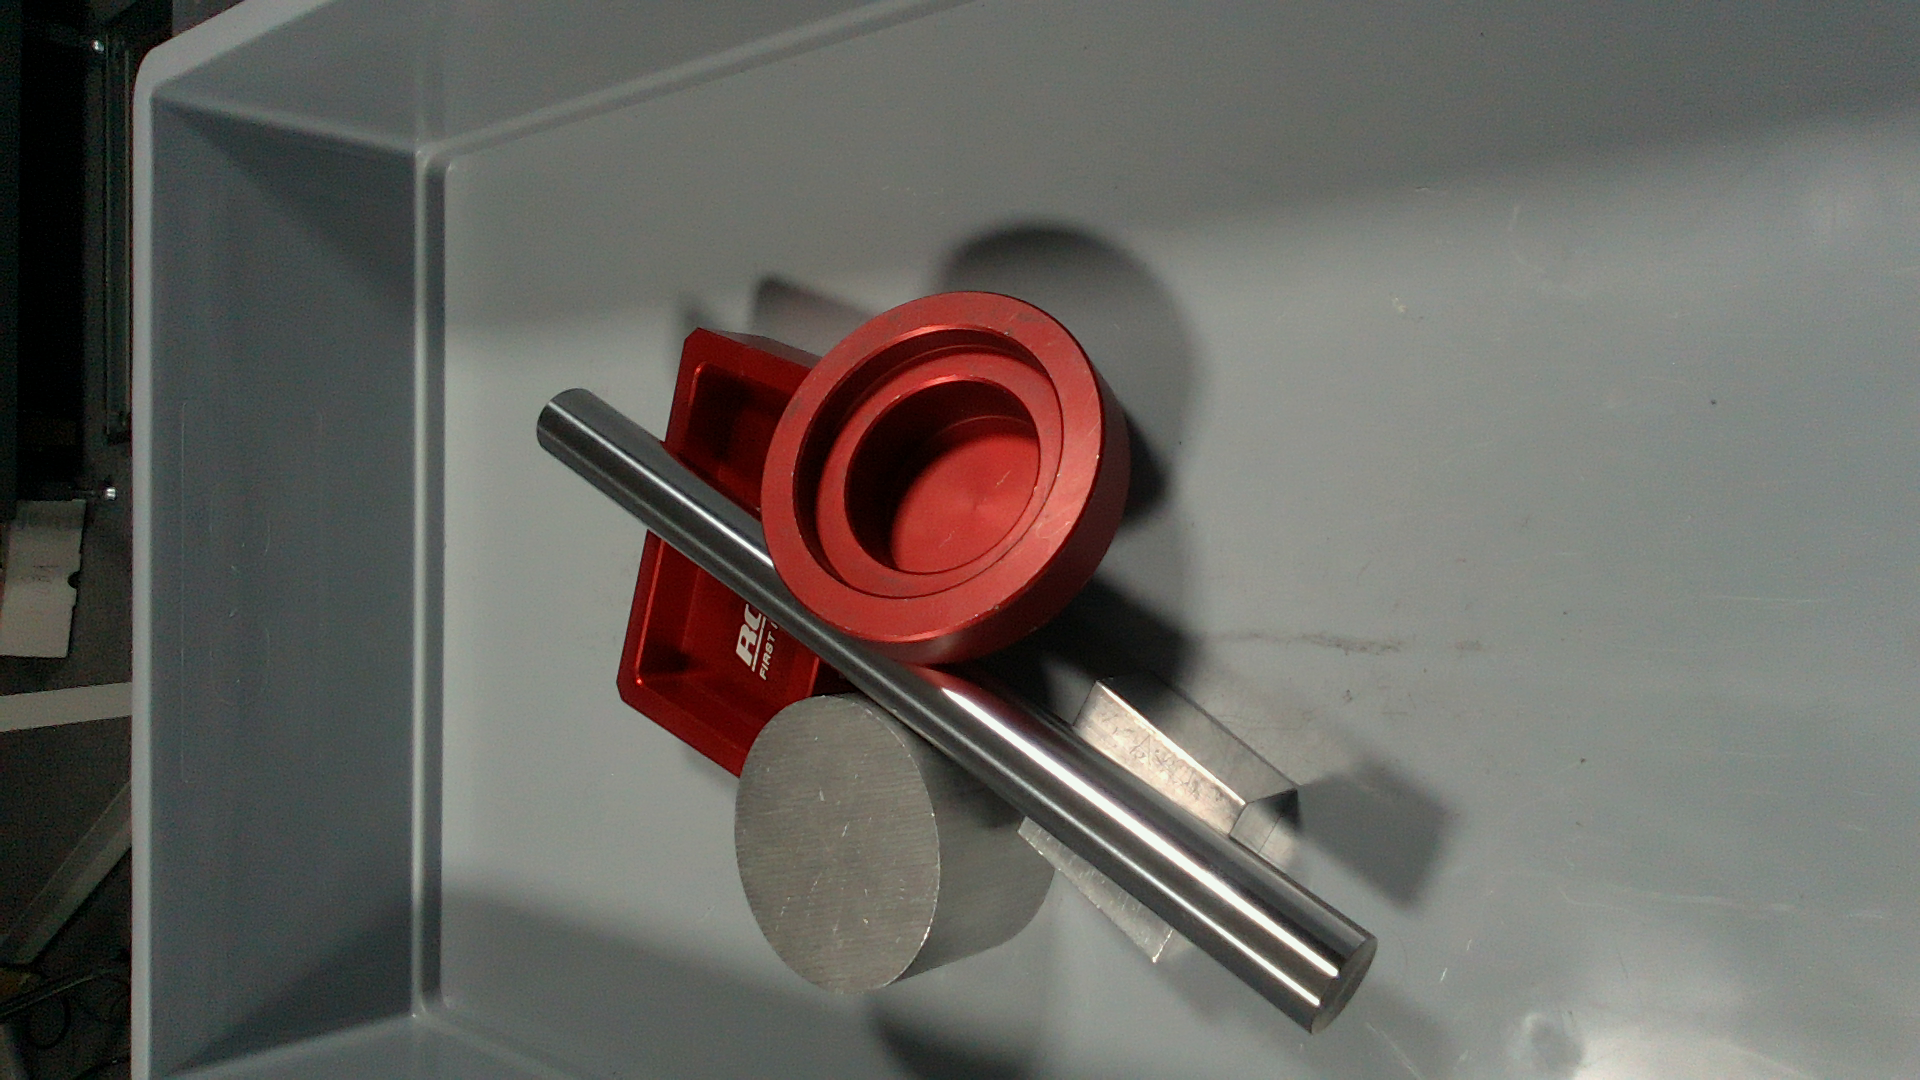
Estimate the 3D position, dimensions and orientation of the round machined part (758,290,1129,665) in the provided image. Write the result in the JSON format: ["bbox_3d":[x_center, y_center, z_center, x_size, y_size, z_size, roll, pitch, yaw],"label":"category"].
[{"bbox_3d":[-0.001,-0.013,0.367,0.098,0.042,0.098,-10,64,22],"label":"round machined part"}]

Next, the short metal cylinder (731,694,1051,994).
[{"bbox_3d":[-0.020,0.082,0.393,0.080,0.050,0.080,0,90,40],"label":"short metal cylinder"}]

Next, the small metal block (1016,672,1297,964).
[{"bbox_3d":[0.049,0.069,0.352,0.050,0.025,0.050,39,114,33],"label":"small metal block"}]

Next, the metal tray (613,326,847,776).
[{"bbox_3d":[-0.062,0.006,0.441,0.090,0.030,0.130,23,105,38],"label":"metal tray"}]

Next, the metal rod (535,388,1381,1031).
[{"bbox_3d":[-0.023,0.028,0.375,0.299,0.025,0.025,32,110,33],"label":"metal rod"}]
